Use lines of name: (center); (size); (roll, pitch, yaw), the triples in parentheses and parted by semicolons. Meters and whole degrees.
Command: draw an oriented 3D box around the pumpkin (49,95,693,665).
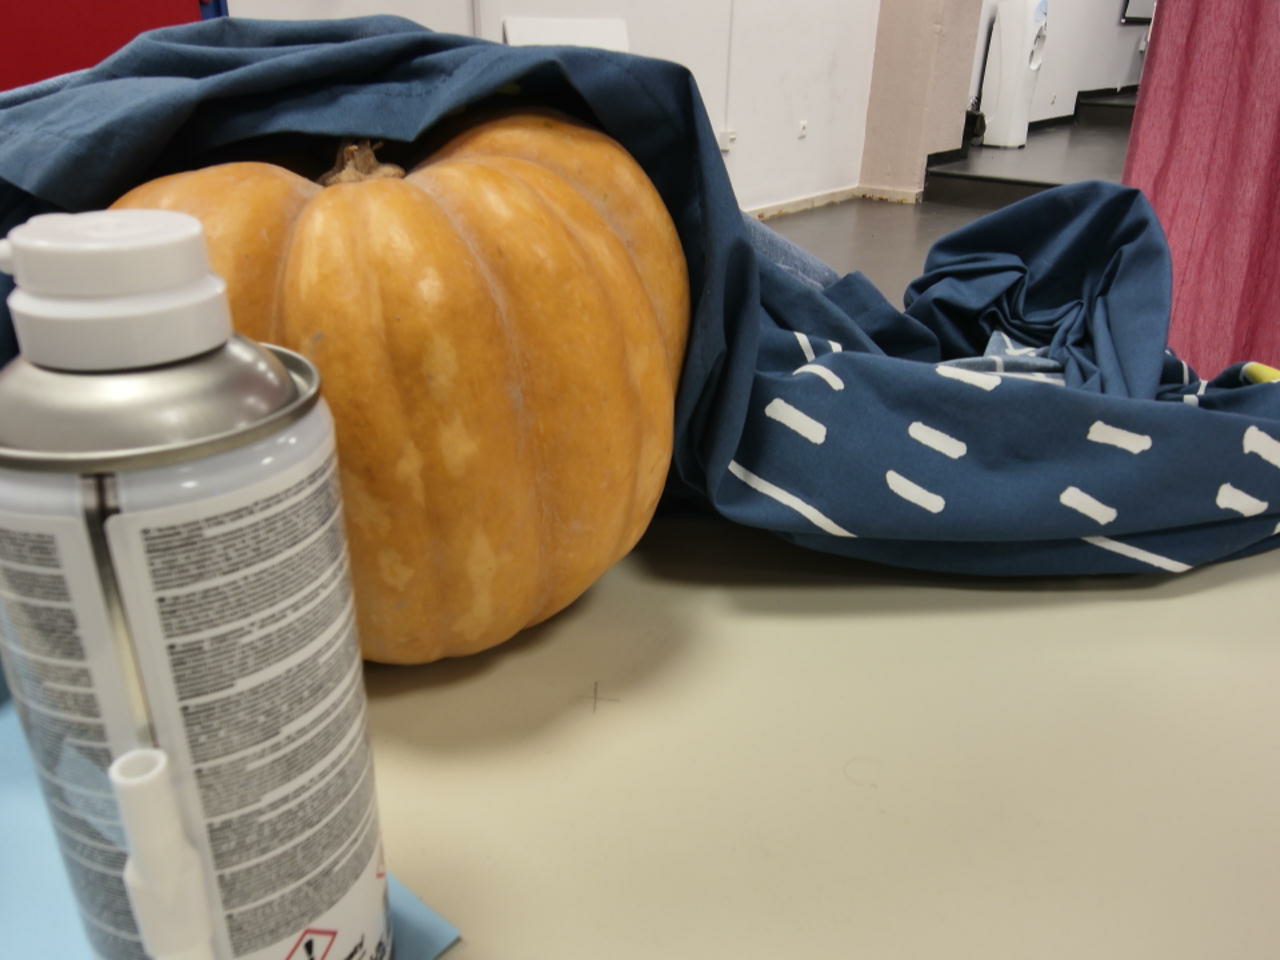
pumpkin: (-0.090, -0.039, 0.376); (0.230, 0.194, 0.230); (1, 24, 0)
